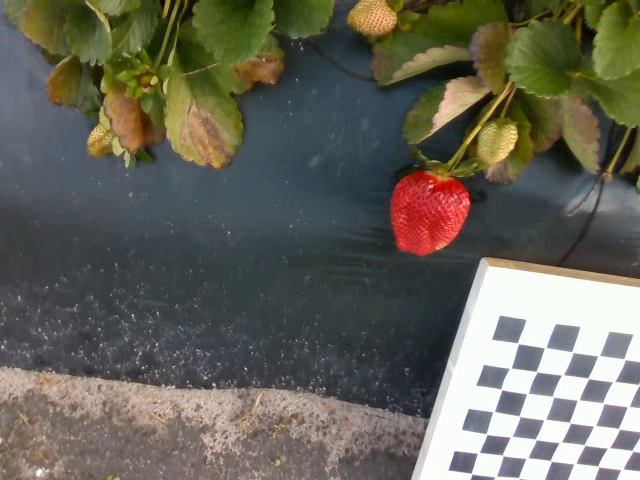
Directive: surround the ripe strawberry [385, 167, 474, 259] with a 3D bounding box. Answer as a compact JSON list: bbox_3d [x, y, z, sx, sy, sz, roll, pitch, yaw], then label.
[{"bbox_3d":[0.085,-0.020,0.472,0.067,0.075,0.039,14,19,-4],"label":"ripe strawberry"}]
